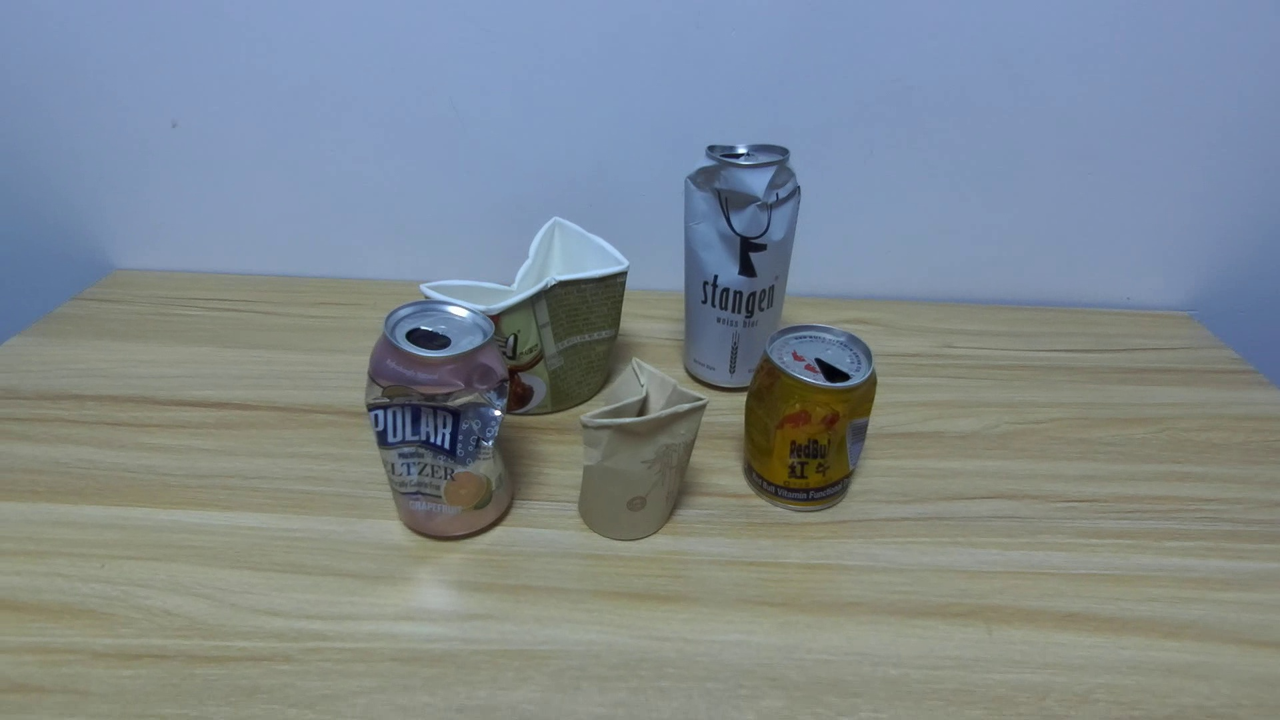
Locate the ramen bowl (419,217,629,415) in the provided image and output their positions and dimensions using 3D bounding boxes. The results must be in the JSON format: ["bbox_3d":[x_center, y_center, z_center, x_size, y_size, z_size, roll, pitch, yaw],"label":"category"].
[{"bbox_3d":[-0.080,-0.029,0.494,0.129,0.093,0.111,-22,40,-30],"label":"ramen bowl"}]

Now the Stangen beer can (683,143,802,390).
[{"bbox_3d":[0.067,-0.061,0.483,0.065,0.166,0.066,25,39,34],"label":"Stangen beer can"}]

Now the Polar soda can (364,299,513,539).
[{"bbox_3d":[-0.100,0.033,0.382,0.071,0.122,0.066,11,29,13],"label":"Polar soda can"}]

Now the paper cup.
[{"bbox_3d":[-0.007,0.049,0.390,0.067,0.083,0.058,-14,35,-22],"label":"paper cup"}]

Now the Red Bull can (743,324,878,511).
[{"bbox_3d":[0.096,0.033,0.408,0.072,0.092,0.072,2,34,-1],"label":"Red Bull can"}]
